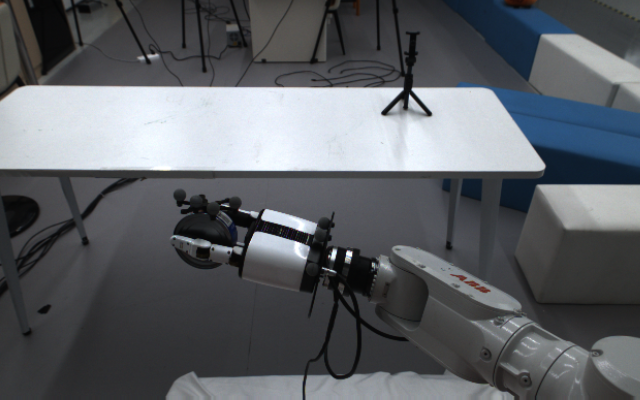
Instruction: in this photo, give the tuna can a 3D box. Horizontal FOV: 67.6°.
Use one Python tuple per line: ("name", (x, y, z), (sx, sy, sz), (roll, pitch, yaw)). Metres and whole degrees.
("tuna can", (-0.162, 0.053, 0.690), (0.085, 0.085, 0.034), (6, 17, 5))
